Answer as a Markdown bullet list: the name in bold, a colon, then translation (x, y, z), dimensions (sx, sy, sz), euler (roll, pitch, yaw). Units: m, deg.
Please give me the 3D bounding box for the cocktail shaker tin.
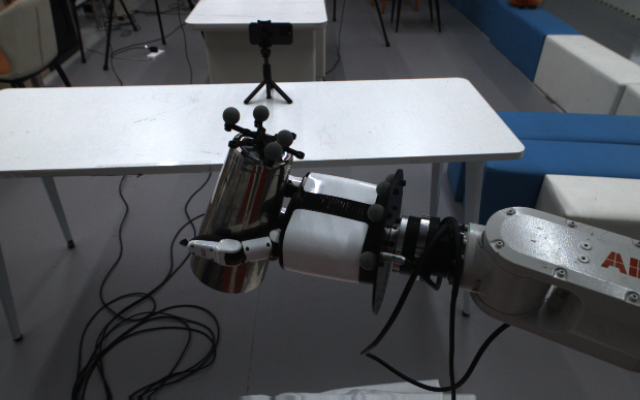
- **cocktail shaker tin**: translation (-0.083, 0.011, 0.544), dimensions (0.093, 0.170, 0.093), euler (15, 31, -10)
